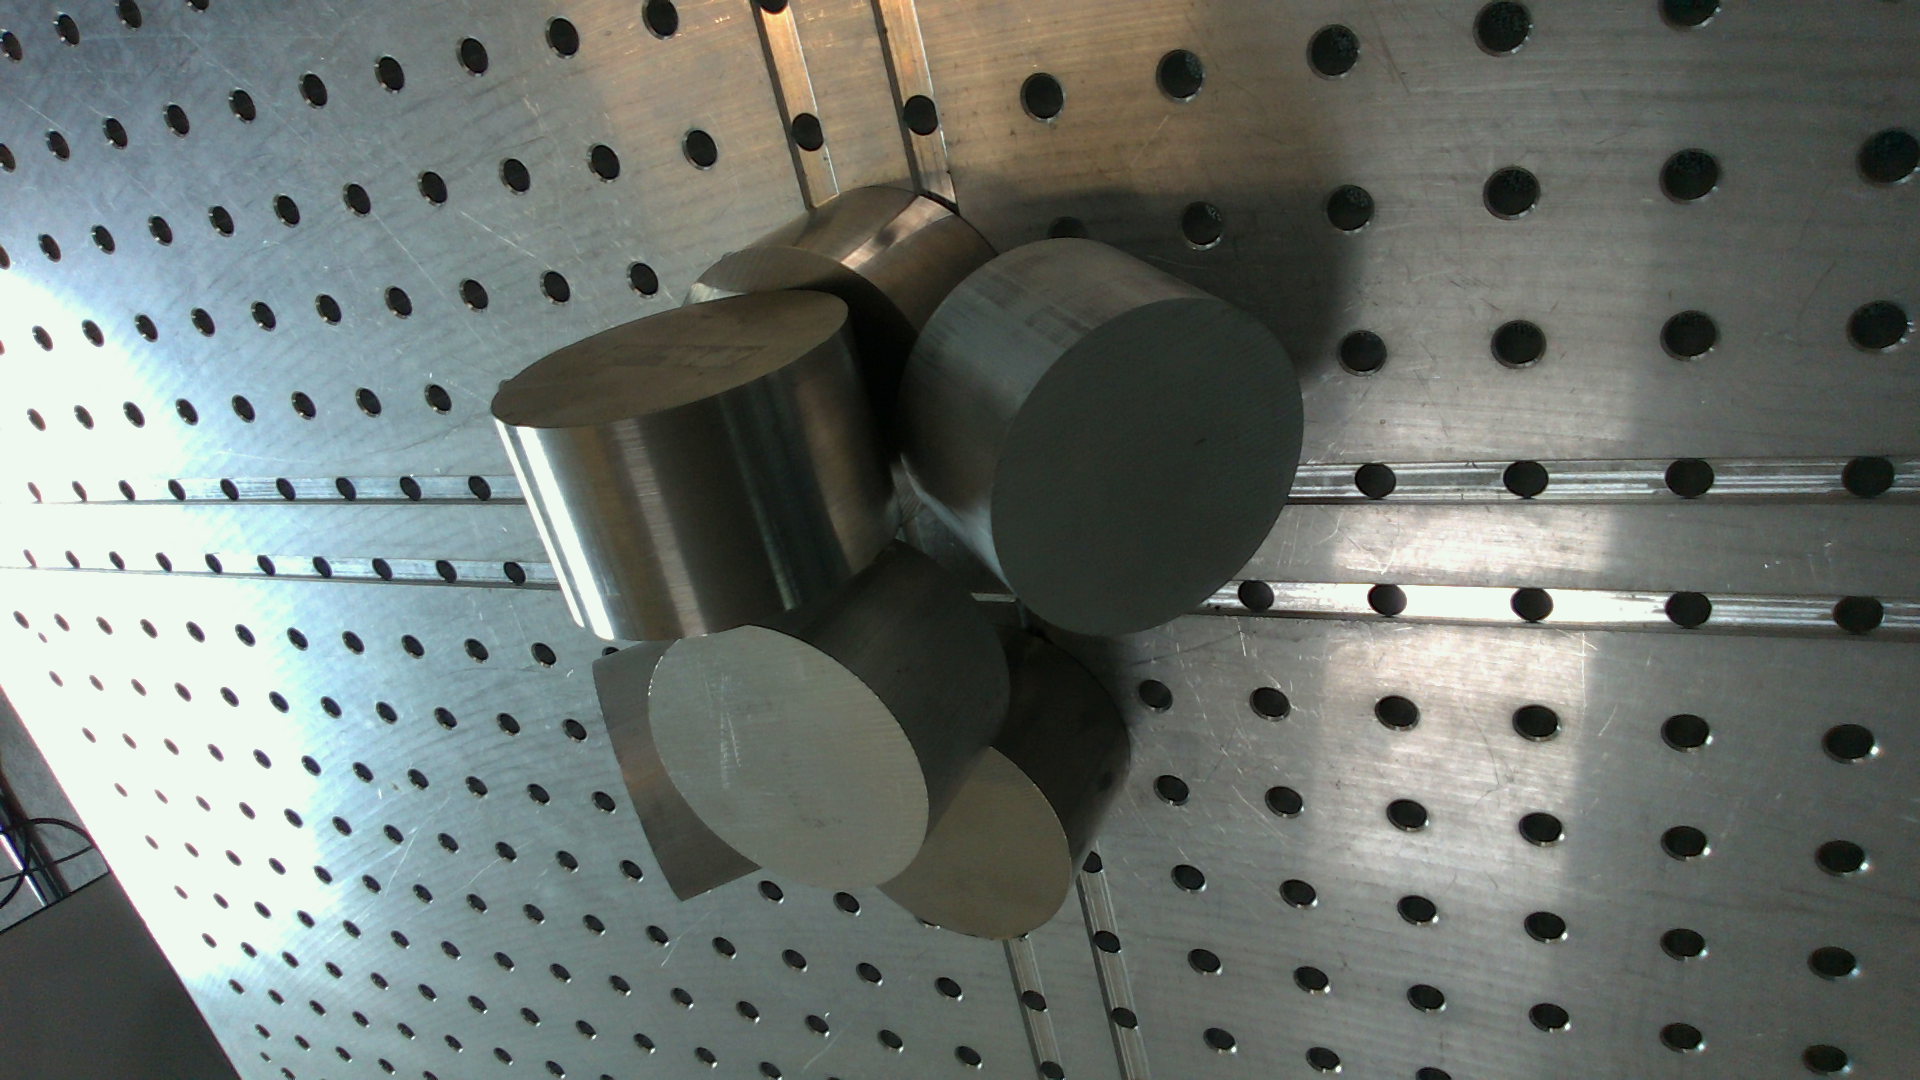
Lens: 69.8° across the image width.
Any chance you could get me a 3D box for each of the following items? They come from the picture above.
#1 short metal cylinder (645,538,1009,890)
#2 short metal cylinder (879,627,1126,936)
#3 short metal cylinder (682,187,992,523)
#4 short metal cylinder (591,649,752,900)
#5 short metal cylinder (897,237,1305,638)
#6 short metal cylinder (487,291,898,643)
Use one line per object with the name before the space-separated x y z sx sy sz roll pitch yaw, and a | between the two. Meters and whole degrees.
short metal cylinder | -0.034 0.043 0.359 0.080 0.050 0.080 13 124 21
short metal cylinder | 0.005 0.073 0.422 0.080 0.050 0.080 13 125 20
short metal cylinder | -0.029 -0.047 0.366 0.080 0.050 0.080 14 125 21
short metal cylinder | -0.078 0.066 0.436 0.050 0.080 0.080 -21 114 -10
short metal cylinder | 0.032 -0.024 0.319 0.050 0.080 0.080 -134 34 -53
short metal cylinder | -0.059 -0.019 0.314 0.080 0.080 0.050 0 119 28
